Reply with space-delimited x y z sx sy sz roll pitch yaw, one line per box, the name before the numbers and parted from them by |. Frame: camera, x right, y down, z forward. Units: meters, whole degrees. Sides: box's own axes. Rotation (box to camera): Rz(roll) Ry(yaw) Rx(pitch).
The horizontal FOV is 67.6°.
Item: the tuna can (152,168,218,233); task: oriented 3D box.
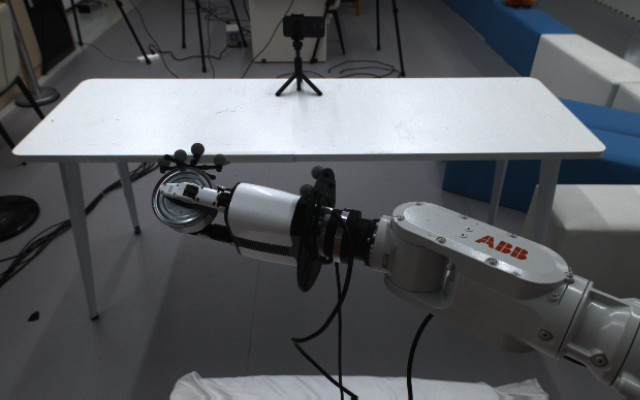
tuna can | -0.176 0.003 0.653 0.085 0.034 0.085 -2 69 6
